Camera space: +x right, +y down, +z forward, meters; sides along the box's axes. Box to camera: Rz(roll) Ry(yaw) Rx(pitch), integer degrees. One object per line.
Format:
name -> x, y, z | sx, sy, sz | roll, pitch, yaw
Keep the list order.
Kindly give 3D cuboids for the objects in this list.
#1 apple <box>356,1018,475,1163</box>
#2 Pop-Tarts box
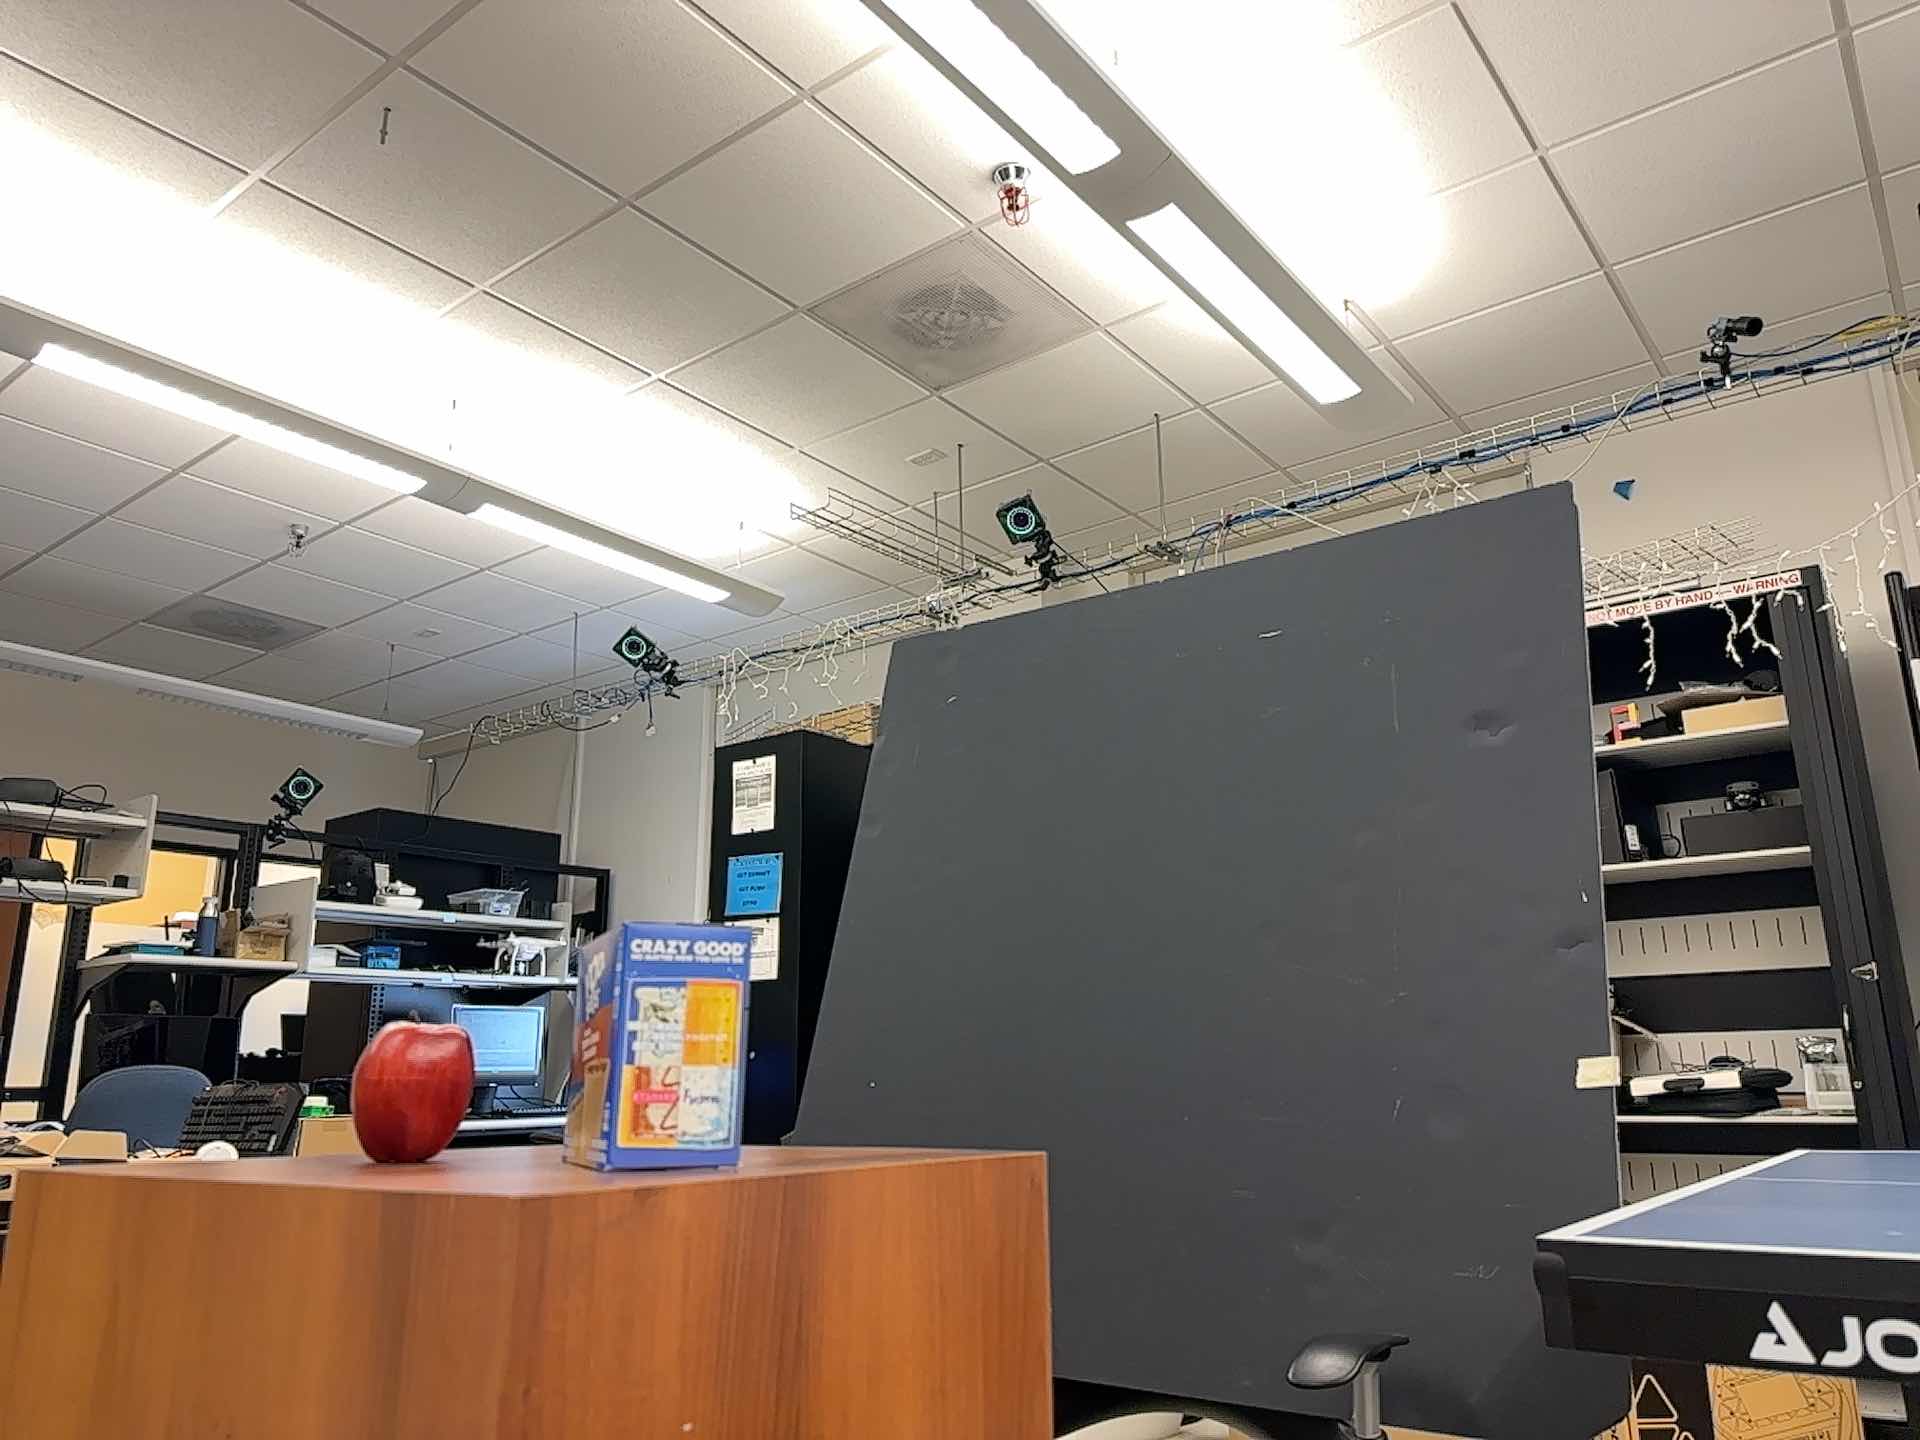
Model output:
apple -> -0.369, 0.250, 0.909 | 0.079, 0.093, 0.079 | -1, -14, 0
Pop-Tarts box -> -0.192, 0.213, 0.859 | 0.075, 0.135, 0.161 | 7, -17, -23
